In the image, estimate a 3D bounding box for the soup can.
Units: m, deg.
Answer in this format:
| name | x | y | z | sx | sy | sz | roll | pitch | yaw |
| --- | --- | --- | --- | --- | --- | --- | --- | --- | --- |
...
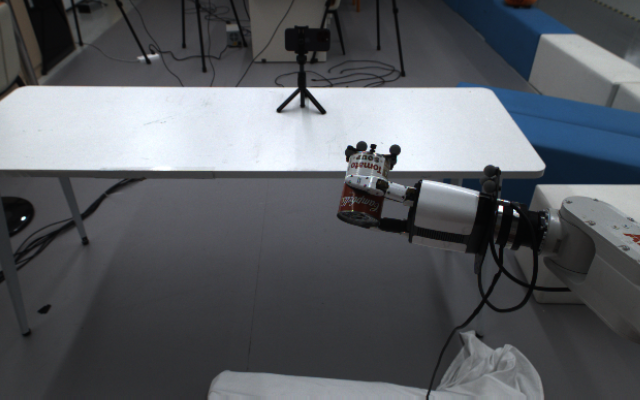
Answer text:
| name | x | y | z | sx | sy | sz | roll | pitch | yaw |
| --- | --- | --- | --- | --- | --- | --- | --- | --- | --- |
| soup can | 0.070 | -0.018 | 0.752 | 0.067 | 0.067 | 0.101 | 9 | 72 | 10 |
